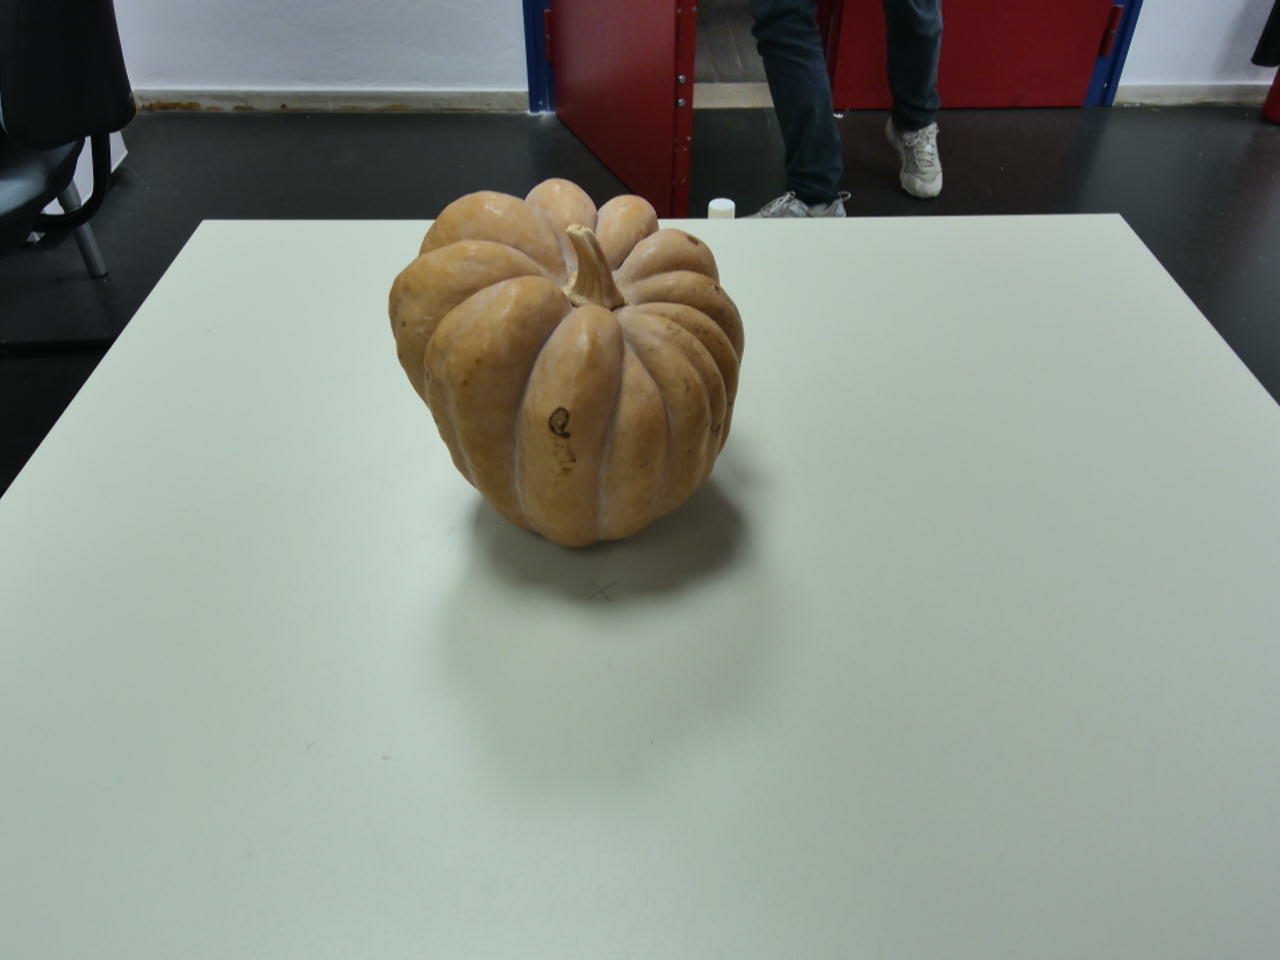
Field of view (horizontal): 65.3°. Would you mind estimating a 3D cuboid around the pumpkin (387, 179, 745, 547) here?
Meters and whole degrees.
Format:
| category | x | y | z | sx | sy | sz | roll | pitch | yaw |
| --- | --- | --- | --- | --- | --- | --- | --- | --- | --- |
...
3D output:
| category | x | y | z | sx | sy | sz | roll | pitch | yaw |
| --- | --- | --- | --- | --- | --- | --- | --- | --- | --- |
| pumpkin | -0.037 | -0.063 | 0.552 | 0.199 | 0.177 | 0.198 | 0 | 39 | 0 |
